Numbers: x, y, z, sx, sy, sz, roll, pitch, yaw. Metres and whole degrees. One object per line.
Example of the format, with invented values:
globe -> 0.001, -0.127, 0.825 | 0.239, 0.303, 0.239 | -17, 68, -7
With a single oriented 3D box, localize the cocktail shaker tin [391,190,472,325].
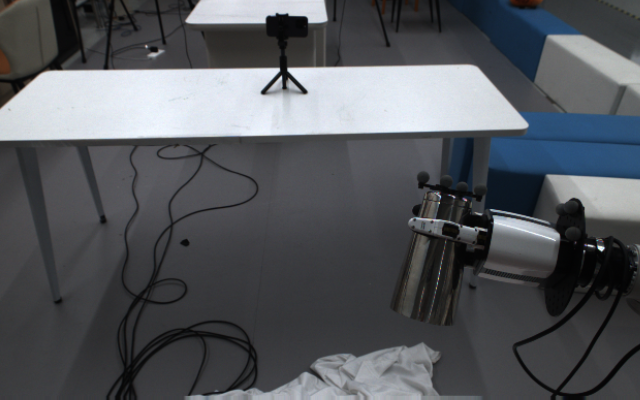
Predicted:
cocktail shaker tin -> 0.165, 0.074, 0.679 | 0.093, 0.170, 0.093 | 13, 1, 0
